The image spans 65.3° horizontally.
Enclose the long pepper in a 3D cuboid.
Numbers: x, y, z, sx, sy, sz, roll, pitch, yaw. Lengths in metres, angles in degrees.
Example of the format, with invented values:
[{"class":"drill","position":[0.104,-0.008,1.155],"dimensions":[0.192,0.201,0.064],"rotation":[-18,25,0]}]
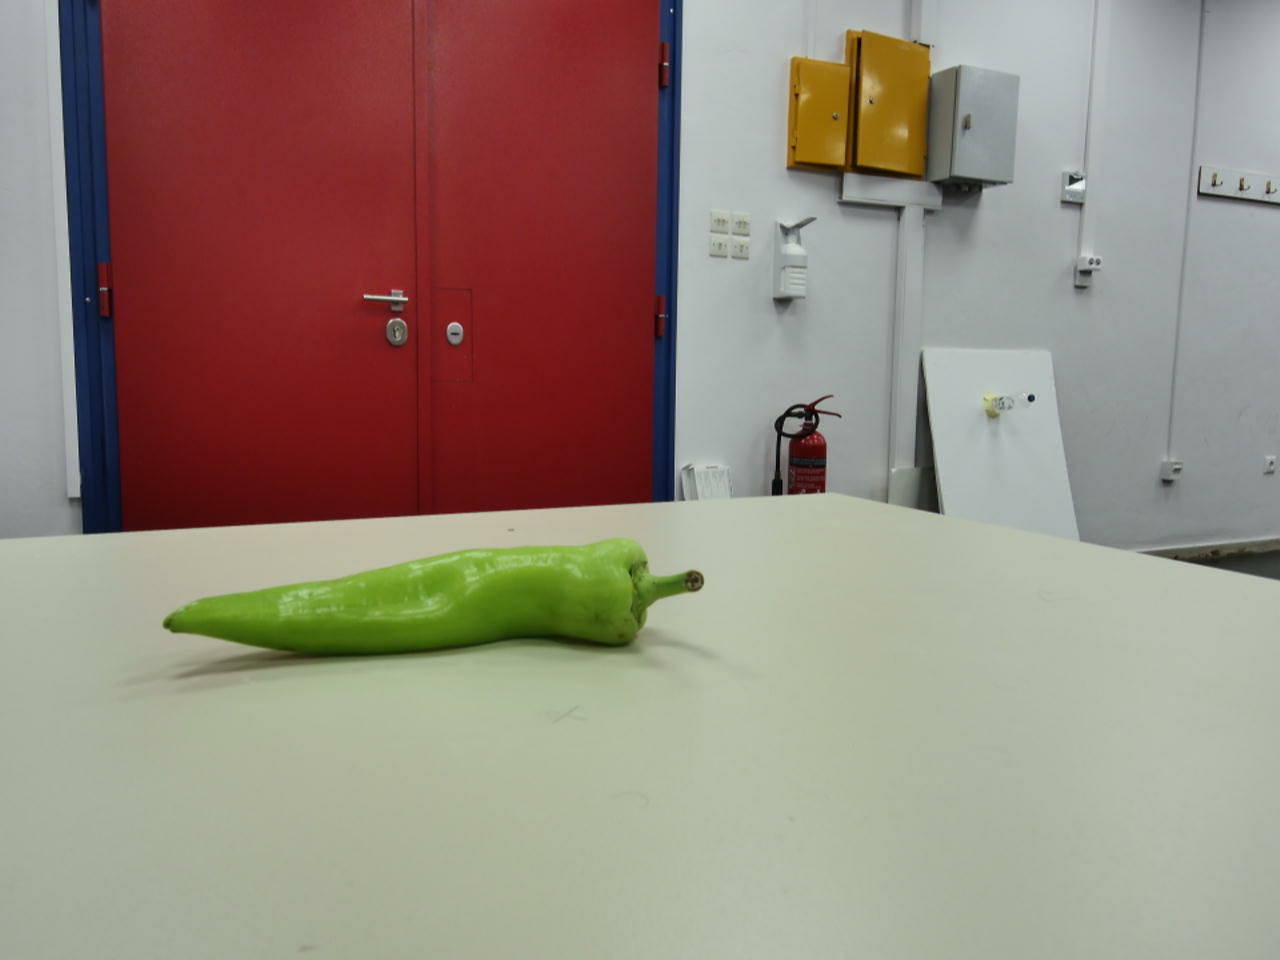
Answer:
[{"class":"long pepper","position":[-0.079,0.049,0.417],"dimensions":[0.204,0.045,0.065],"rotation":[-1,4,-10]}]
